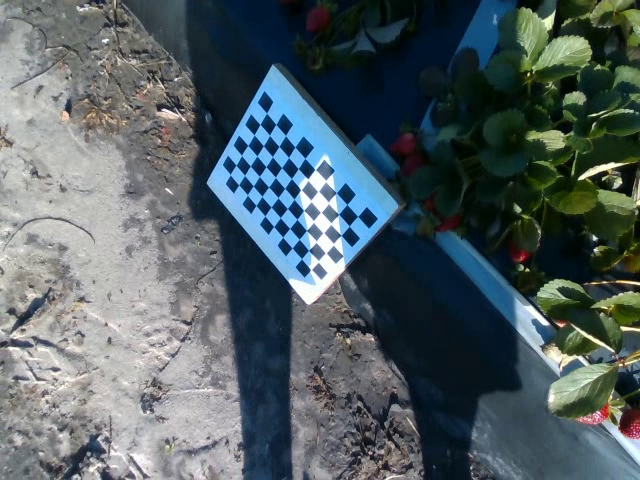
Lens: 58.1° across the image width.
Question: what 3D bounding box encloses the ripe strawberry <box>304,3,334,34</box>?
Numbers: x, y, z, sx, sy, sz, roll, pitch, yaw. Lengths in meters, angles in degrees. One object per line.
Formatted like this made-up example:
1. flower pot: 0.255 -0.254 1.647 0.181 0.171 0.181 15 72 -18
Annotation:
1. ripe strawberry: -0.005 -0.336 0.883 0.042 0.049 0.039 11 -37 37
